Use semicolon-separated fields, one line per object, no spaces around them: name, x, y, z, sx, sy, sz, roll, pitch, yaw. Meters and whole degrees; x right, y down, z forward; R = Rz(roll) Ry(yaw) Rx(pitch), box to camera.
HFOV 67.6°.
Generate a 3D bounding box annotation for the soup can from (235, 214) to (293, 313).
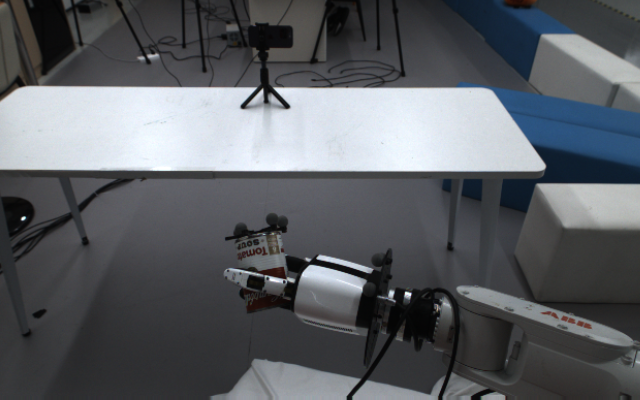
soup can;-0.076;0.102;0.674;0.067;0.067;0.101;-10;80;-16
